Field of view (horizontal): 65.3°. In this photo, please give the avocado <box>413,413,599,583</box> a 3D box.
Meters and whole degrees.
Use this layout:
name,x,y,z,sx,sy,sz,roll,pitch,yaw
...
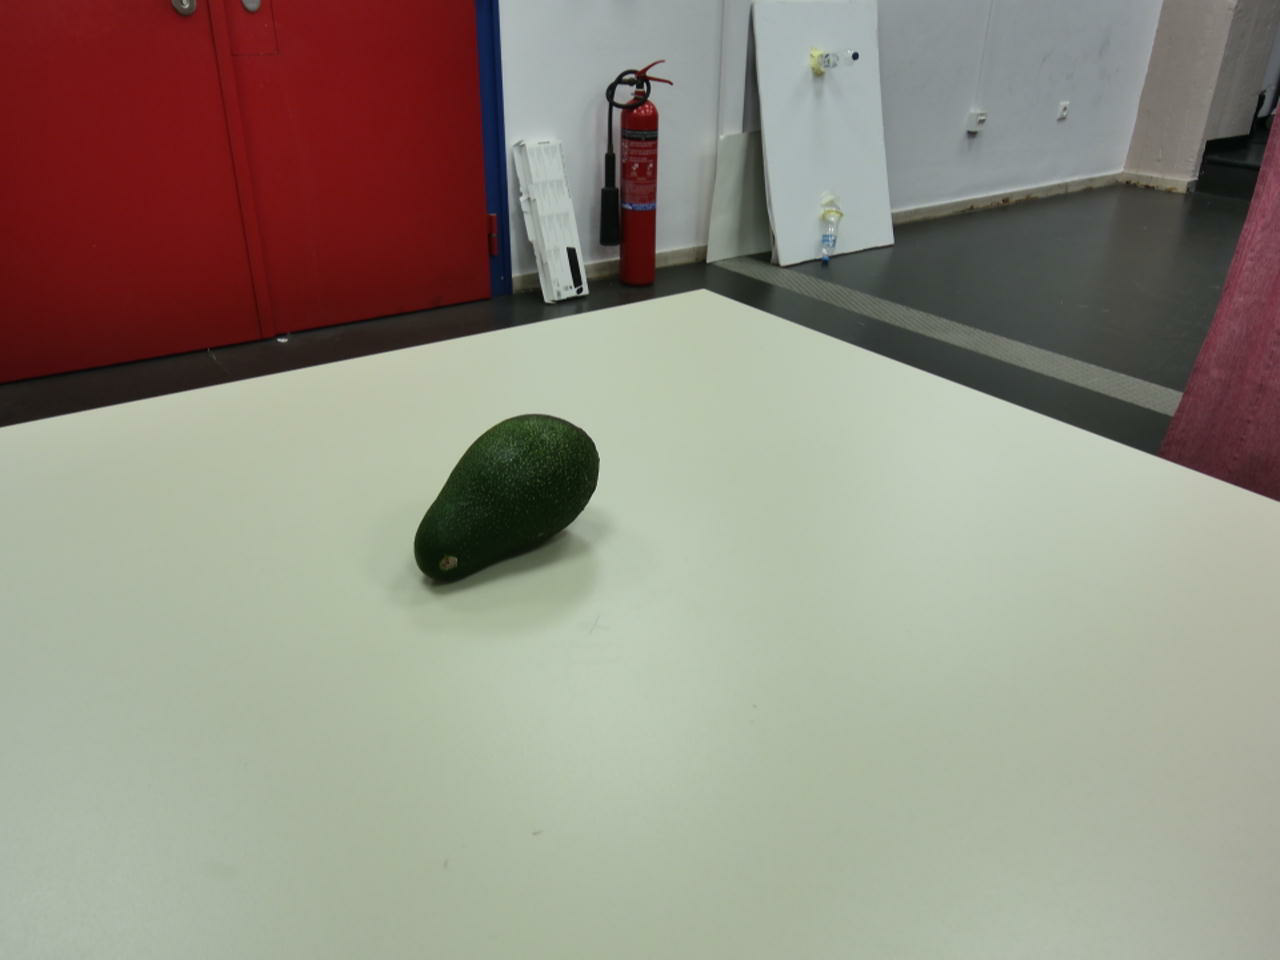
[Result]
name,x,y,z,sx,sy,sz,roll,pitch,yaw
avocado,-0.080,0.004,0.575,0.123,0.076,0.074,-14,29,-28
